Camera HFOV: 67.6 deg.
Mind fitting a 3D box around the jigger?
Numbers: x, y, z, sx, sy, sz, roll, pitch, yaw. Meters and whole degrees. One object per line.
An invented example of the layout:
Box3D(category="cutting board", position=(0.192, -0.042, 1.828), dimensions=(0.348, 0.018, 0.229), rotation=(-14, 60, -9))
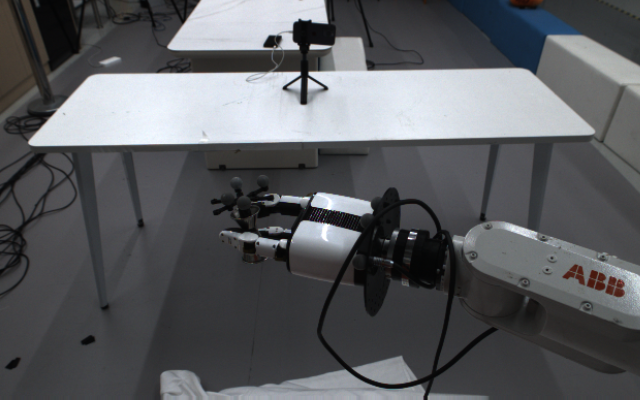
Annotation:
Box3D(category="jigger", position=(-0.090, 0.044, 0.654), dimensions=(0.043, 0.071, 0.043), rotation=(-10, 24, 5))
